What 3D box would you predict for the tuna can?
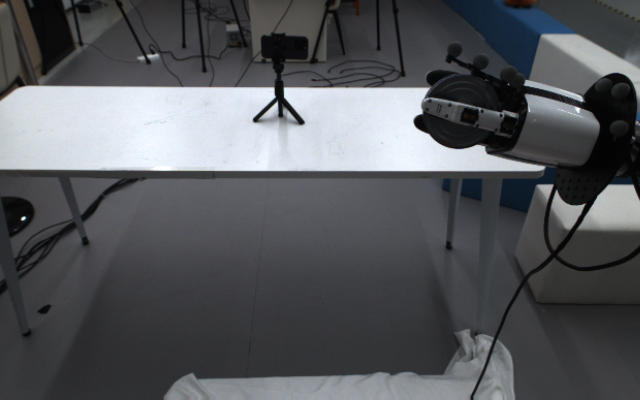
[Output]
[{"bbox_3d":[0.167,-0.108,0.576,0.085,0.085,0.034,7,17,6],"label":"tuna can"}]
